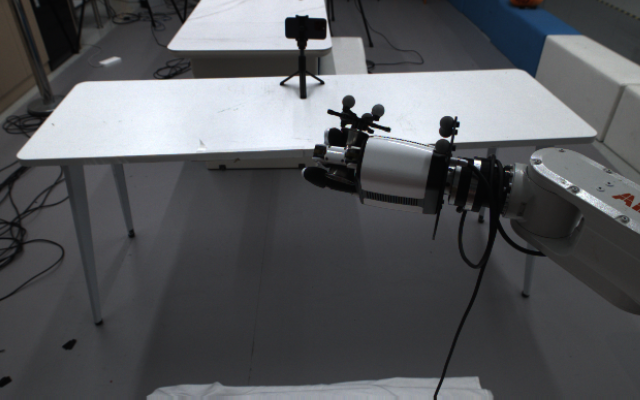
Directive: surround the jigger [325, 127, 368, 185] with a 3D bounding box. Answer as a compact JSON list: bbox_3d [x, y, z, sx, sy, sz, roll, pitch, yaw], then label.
[{"bbox_3d":[0.038,-0.060,0.649,0.043,0.071,0.043,18,-6,2],"label":"jigger"}]
